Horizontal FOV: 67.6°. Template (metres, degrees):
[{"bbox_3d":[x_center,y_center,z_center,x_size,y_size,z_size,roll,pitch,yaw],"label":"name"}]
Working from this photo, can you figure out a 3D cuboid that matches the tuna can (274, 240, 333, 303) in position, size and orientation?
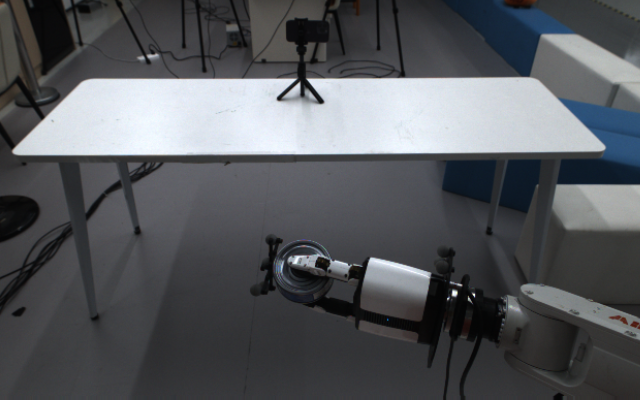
[{"bbox_3d":[-0.020,0.103,0.678,0.085,0.034,0.085,-2,57,3],"label":"tuna can"}]
